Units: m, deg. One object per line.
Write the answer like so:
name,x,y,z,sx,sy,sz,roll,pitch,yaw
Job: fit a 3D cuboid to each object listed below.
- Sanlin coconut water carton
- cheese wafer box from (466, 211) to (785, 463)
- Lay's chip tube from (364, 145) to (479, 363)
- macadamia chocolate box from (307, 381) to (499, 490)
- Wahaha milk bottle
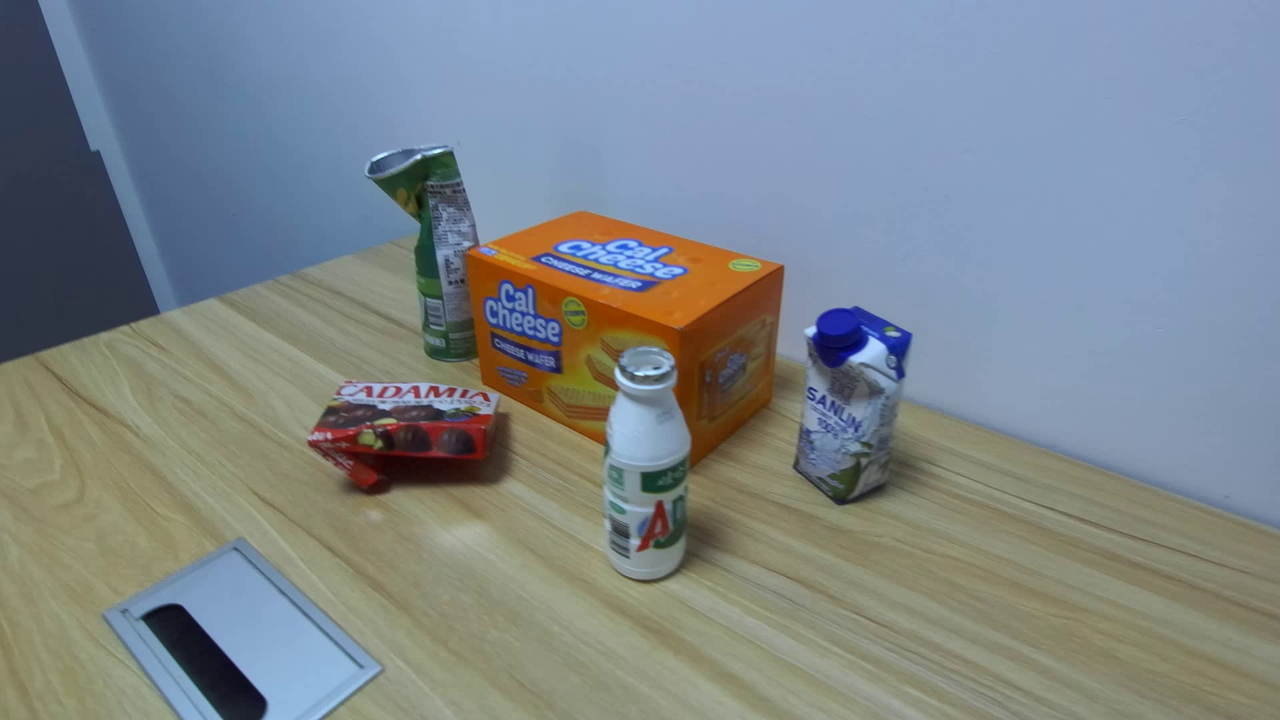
Sanlin coconut water carton,0.145,0.027,0.492,0.058,0.142,0.077,-22,36,-23
cheese wafer box,-0.014,-0.027,0.596,0.221,0.129,0.149,22,37,32
Lay's chip tube,-0.187,-0.095,0.648,0.071,0.200,0.078,-25,37,-25
macadamia chocolate box,-0.173,0.047,0.542,0.126,0.056,0.112,-3,32,-7
Wahaha milk bottle,0.002,0.068,0.423,0.053,0.137,0.053,0,31,0
